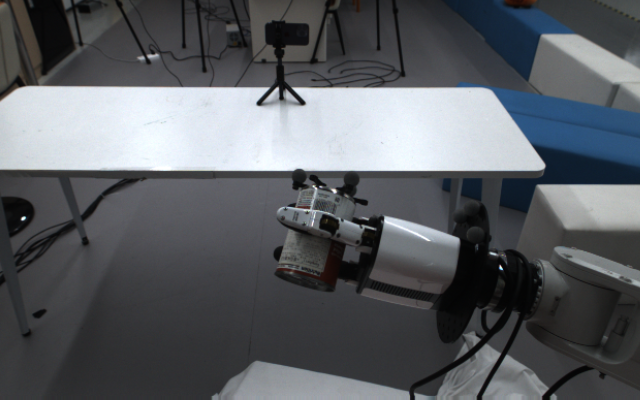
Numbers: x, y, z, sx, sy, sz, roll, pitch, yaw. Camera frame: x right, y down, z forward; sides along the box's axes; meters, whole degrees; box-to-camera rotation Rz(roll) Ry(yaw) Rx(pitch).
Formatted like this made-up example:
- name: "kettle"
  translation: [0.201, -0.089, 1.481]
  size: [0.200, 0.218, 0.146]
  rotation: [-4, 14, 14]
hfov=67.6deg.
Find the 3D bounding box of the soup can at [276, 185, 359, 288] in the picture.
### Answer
- name: "soup can"
  translation: [-0.002, 0.043, 0.535]
  size: [0.067, 0.067, 0.101]
  rotation: [11, 72, 13]
